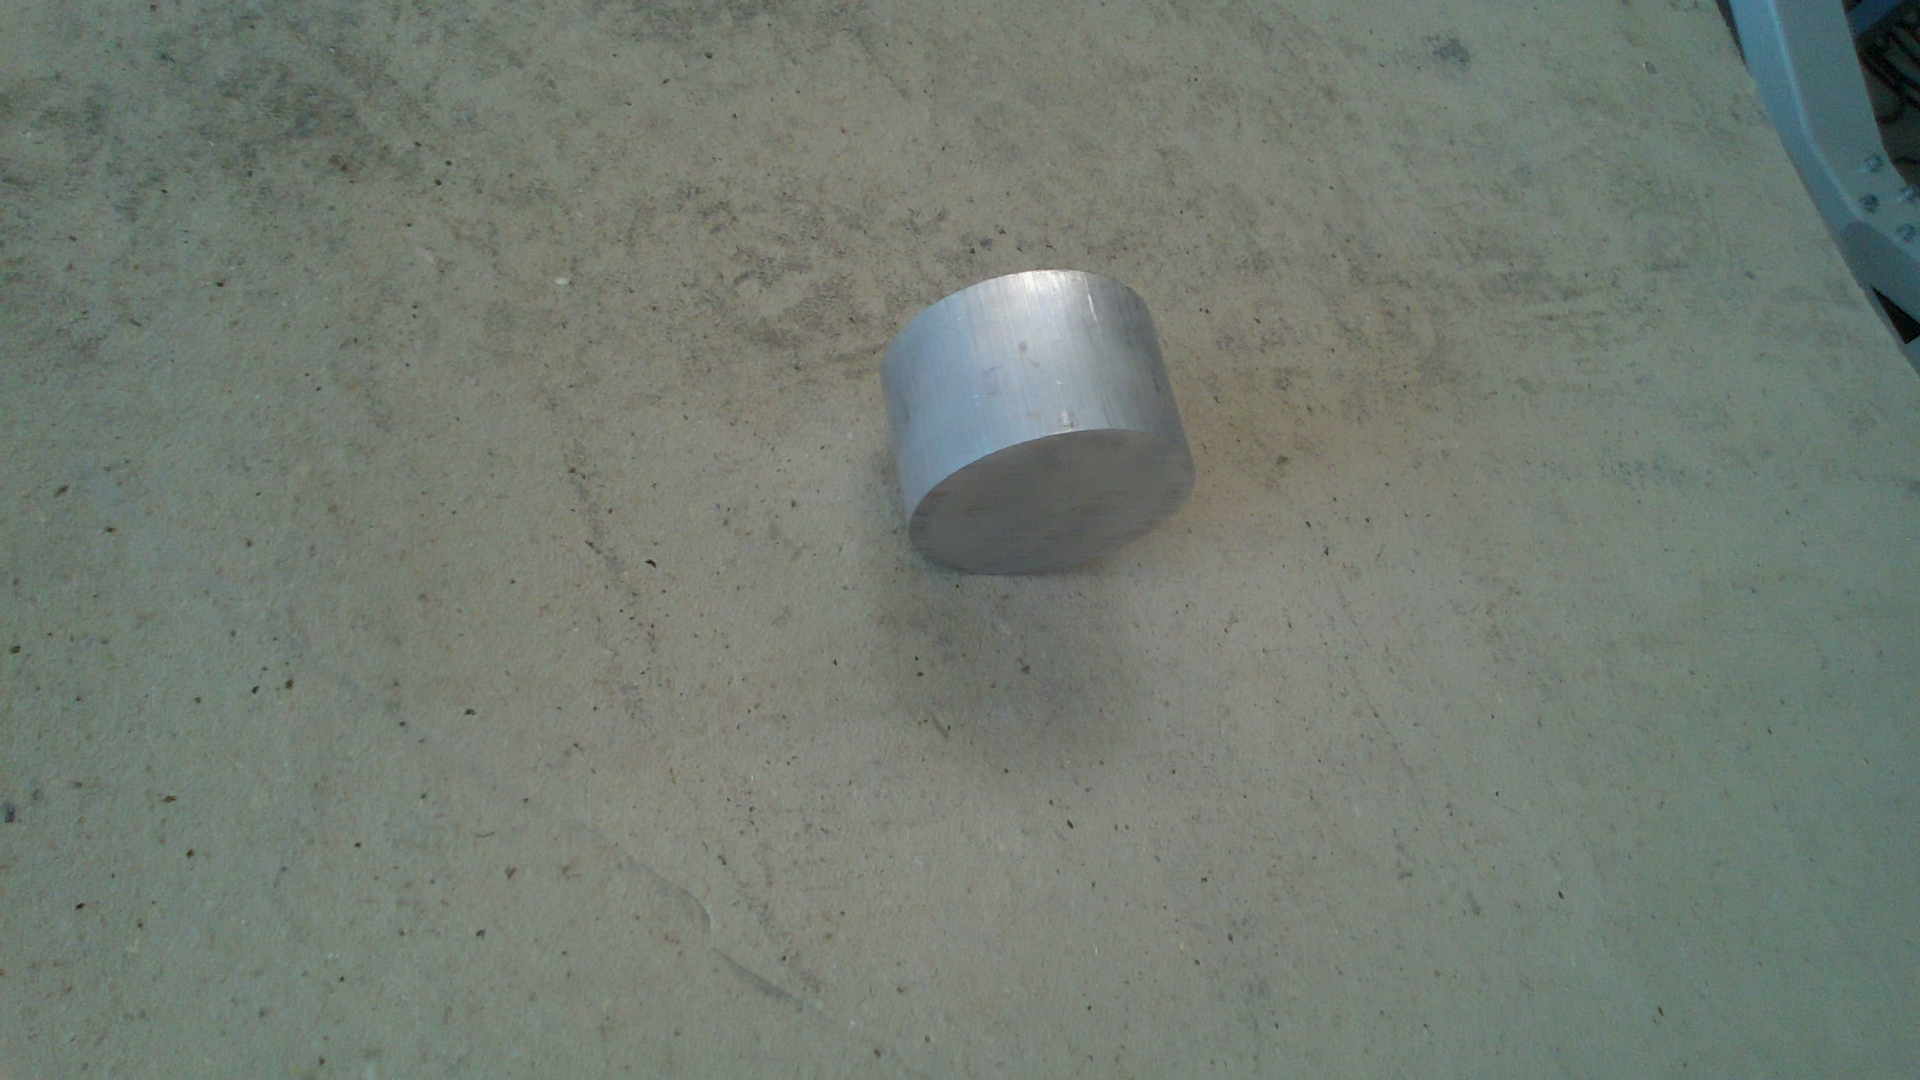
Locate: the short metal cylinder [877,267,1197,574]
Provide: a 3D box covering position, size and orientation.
[{"bbox_3d":[0.020,-0.031,0.385,0.080,0.080,0.050,2,61,-27],"label":"short metal cylinder"}]
